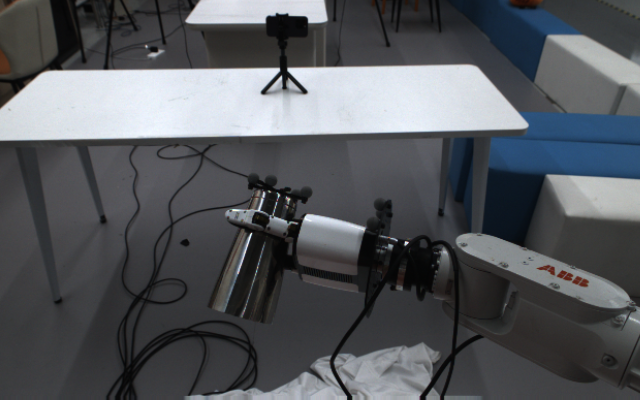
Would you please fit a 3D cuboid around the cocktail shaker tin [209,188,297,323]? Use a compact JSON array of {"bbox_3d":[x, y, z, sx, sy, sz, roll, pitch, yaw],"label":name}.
[{"bbox_3d":[-0.084,0.074,0.670,0.093,0.093,0.170,13,77,15],"label":"cocktail shaker tin"}]
